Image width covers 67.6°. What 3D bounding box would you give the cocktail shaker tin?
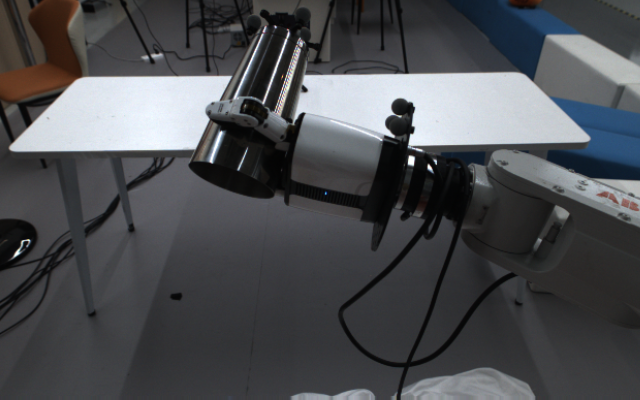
[{"bbox_3d":[-0.067,-0.097,0.521,0.093,0.093,0.170,13,73,15],"label":"cocktail shaker tin"}]
